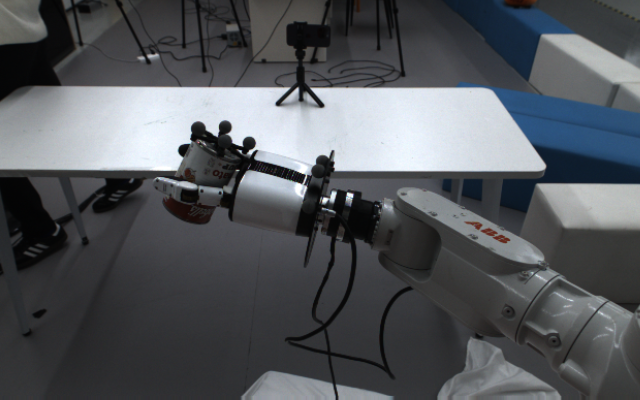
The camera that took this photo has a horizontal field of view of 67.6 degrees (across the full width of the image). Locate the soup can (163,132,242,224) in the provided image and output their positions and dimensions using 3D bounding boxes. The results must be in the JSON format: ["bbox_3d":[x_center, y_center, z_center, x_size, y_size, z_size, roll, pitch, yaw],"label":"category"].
[{"bbox_3d":[-0.154,-0.027,0.633,0.067,0.101,0.067,28,18,-10],"label":"soup can"}]
